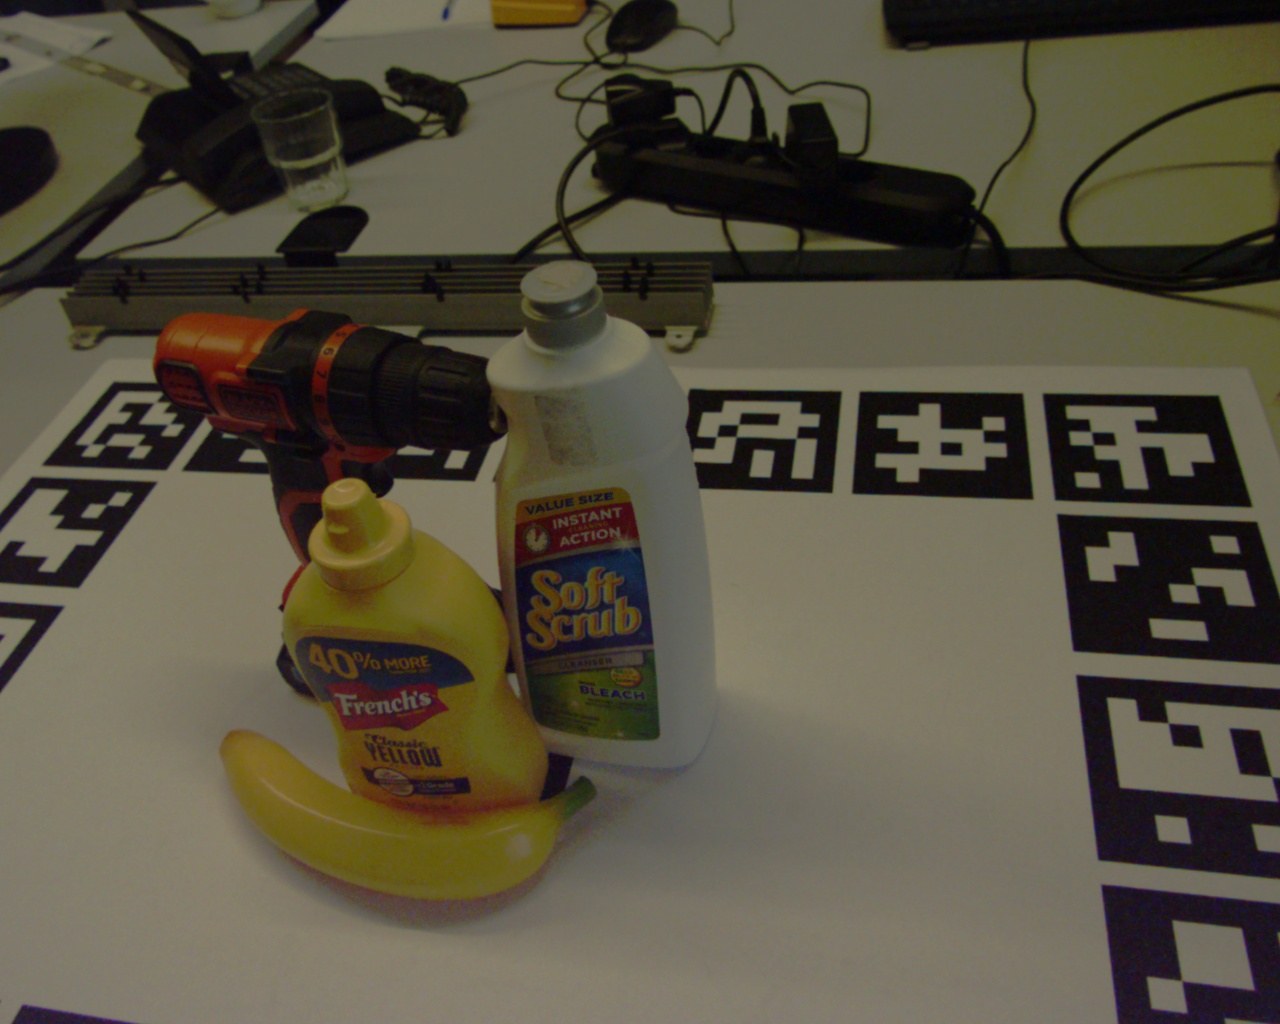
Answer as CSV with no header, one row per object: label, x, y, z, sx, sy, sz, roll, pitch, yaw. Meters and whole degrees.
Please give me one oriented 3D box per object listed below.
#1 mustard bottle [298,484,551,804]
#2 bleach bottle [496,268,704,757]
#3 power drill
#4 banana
mustard bottle,-0.102,0.062,0.520,0.097,0.190,0.058,3,45,12
bleach bottle,-0.026,0.007,0.528,0.103,0.249,0.068,4,39,15
power drill,-0.132,-0.003,0.566,0.186,0.186,0.057,12,46,20
banana,-0.117,0.143,0.562,0.199,0.038,0.074,4,46,18
